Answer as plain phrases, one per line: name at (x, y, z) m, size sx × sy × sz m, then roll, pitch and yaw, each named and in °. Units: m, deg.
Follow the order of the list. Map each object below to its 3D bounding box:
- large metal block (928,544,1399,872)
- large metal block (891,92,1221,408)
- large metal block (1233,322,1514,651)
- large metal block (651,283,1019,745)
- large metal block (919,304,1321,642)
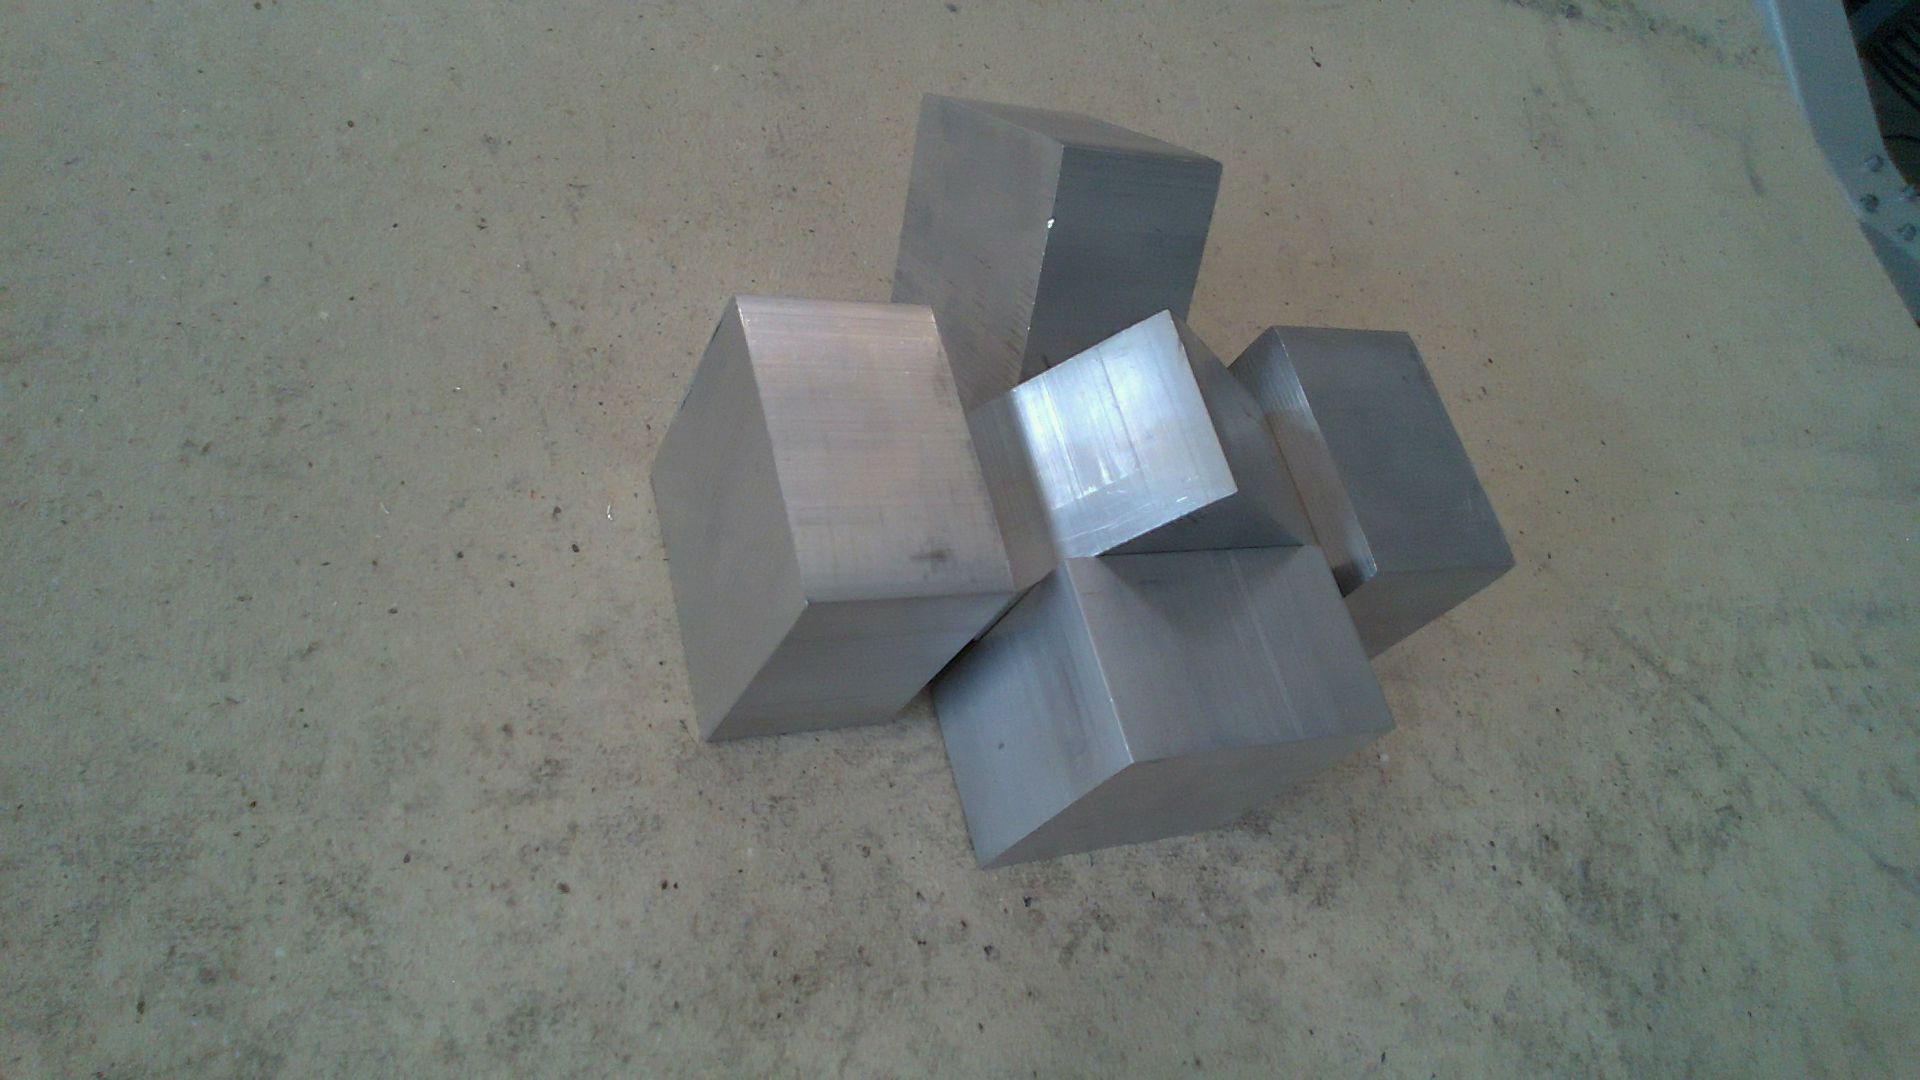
large metal block at (0.049, 0.044, 0.355) m, size 0.080 × 0.080 × 0.050 m, roll -3°, pitch 63°, yaw -29°
large metal block at (0.022, -0.078, 0.396) m, size 0.050 × 0.080 × 0.080 m, roll -3°, pitch 25°, yaw -29°
large metal block at (0.105, -0.008, 0.416) m, size 0.050 × 0.080 × 0.080 m, roll -2°, pitch 61°, yaw -30°
large metal block at (-0.036, -0.004, 0.337) m, size 0.050 × 0.080 × 0.080 m, roll -2°, pitch 62°, yaw -29°
large metal block at (0.042, -0.007, 0.363) m, size 0.080 × 0.080 × 0.050 m, roll 28°, pitch 40°, yaw -58°
